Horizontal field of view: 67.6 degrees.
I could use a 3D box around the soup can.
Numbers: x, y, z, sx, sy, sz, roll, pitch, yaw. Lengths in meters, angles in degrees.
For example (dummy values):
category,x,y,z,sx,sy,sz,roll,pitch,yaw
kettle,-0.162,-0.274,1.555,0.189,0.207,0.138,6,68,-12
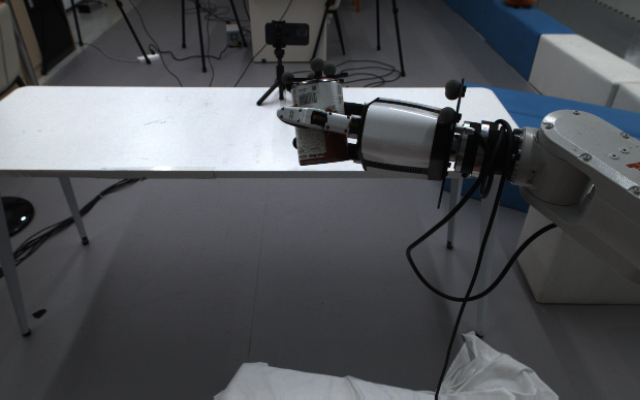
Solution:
category,x,y,z,sx,sy,sz,roll,pitch,yaw
soup can,0.001,-0.098,0.624,0.067,0.101,0.067,-7,3,0
